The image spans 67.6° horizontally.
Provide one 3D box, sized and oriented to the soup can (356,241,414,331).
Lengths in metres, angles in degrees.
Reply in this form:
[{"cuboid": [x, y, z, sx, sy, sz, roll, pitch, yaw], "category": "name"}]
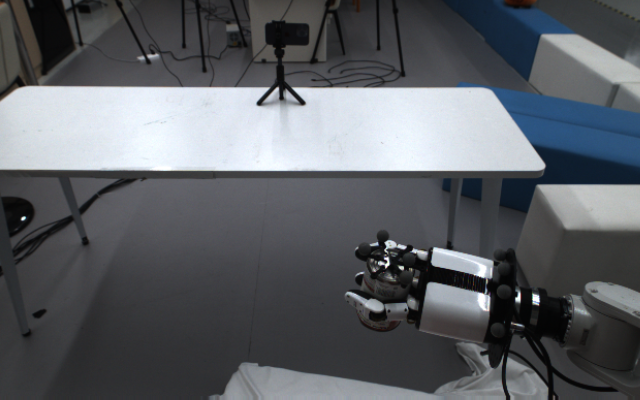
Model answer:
[{"cuboid": [0.092, 0.127, 0.680, 0.067, 0.101, 0.067, 5, 37, -4], "category": "soup can"}]
